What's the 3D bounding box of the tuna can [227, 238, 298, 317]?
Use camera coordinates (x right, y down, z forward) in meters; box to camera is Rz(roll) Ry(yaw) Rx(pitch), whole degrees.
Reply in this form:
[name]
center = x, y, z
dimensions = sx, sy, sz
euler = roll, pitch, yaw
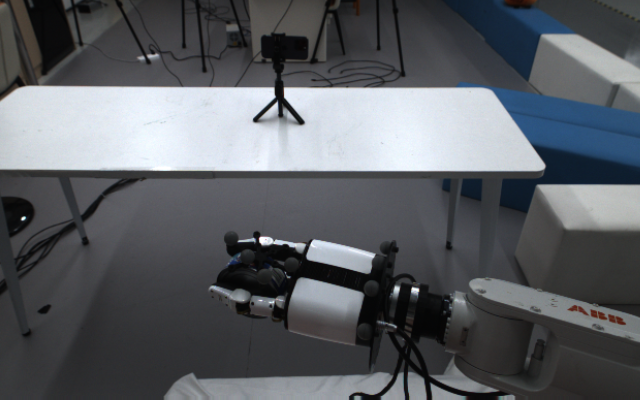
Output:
[tuna can]
center = -0.082, 0.105, 0.609
dimensions = 0.085, 0.085, 0.034
euler = 12, 33, 14
